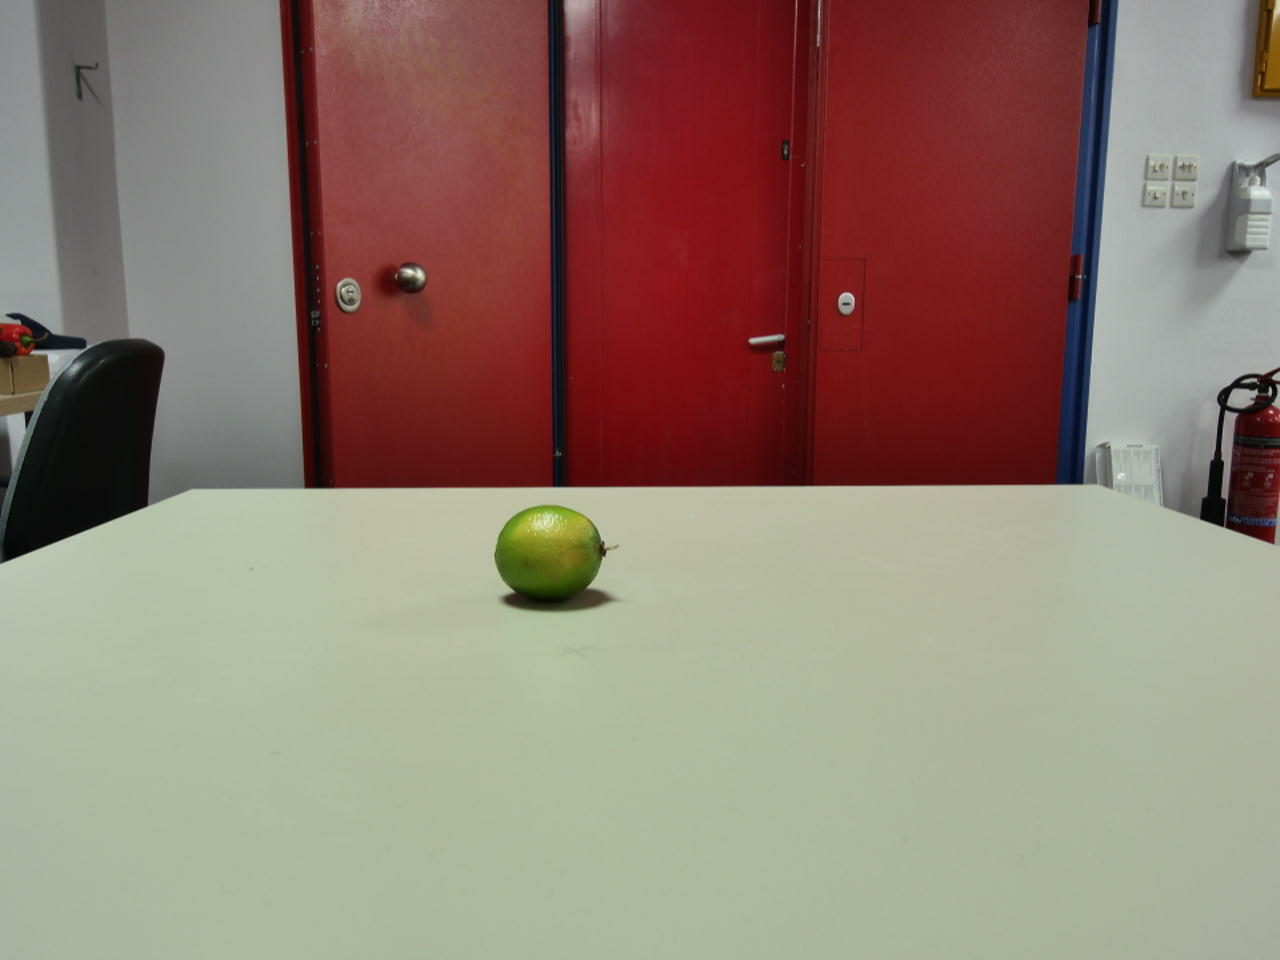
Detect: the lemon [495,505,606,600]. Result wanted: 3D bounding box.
[{"bbox_3d":[-0.049,0.039,0.539,0.054,0.050,0.055,-7,9,-40],"label":"lemon"}]
